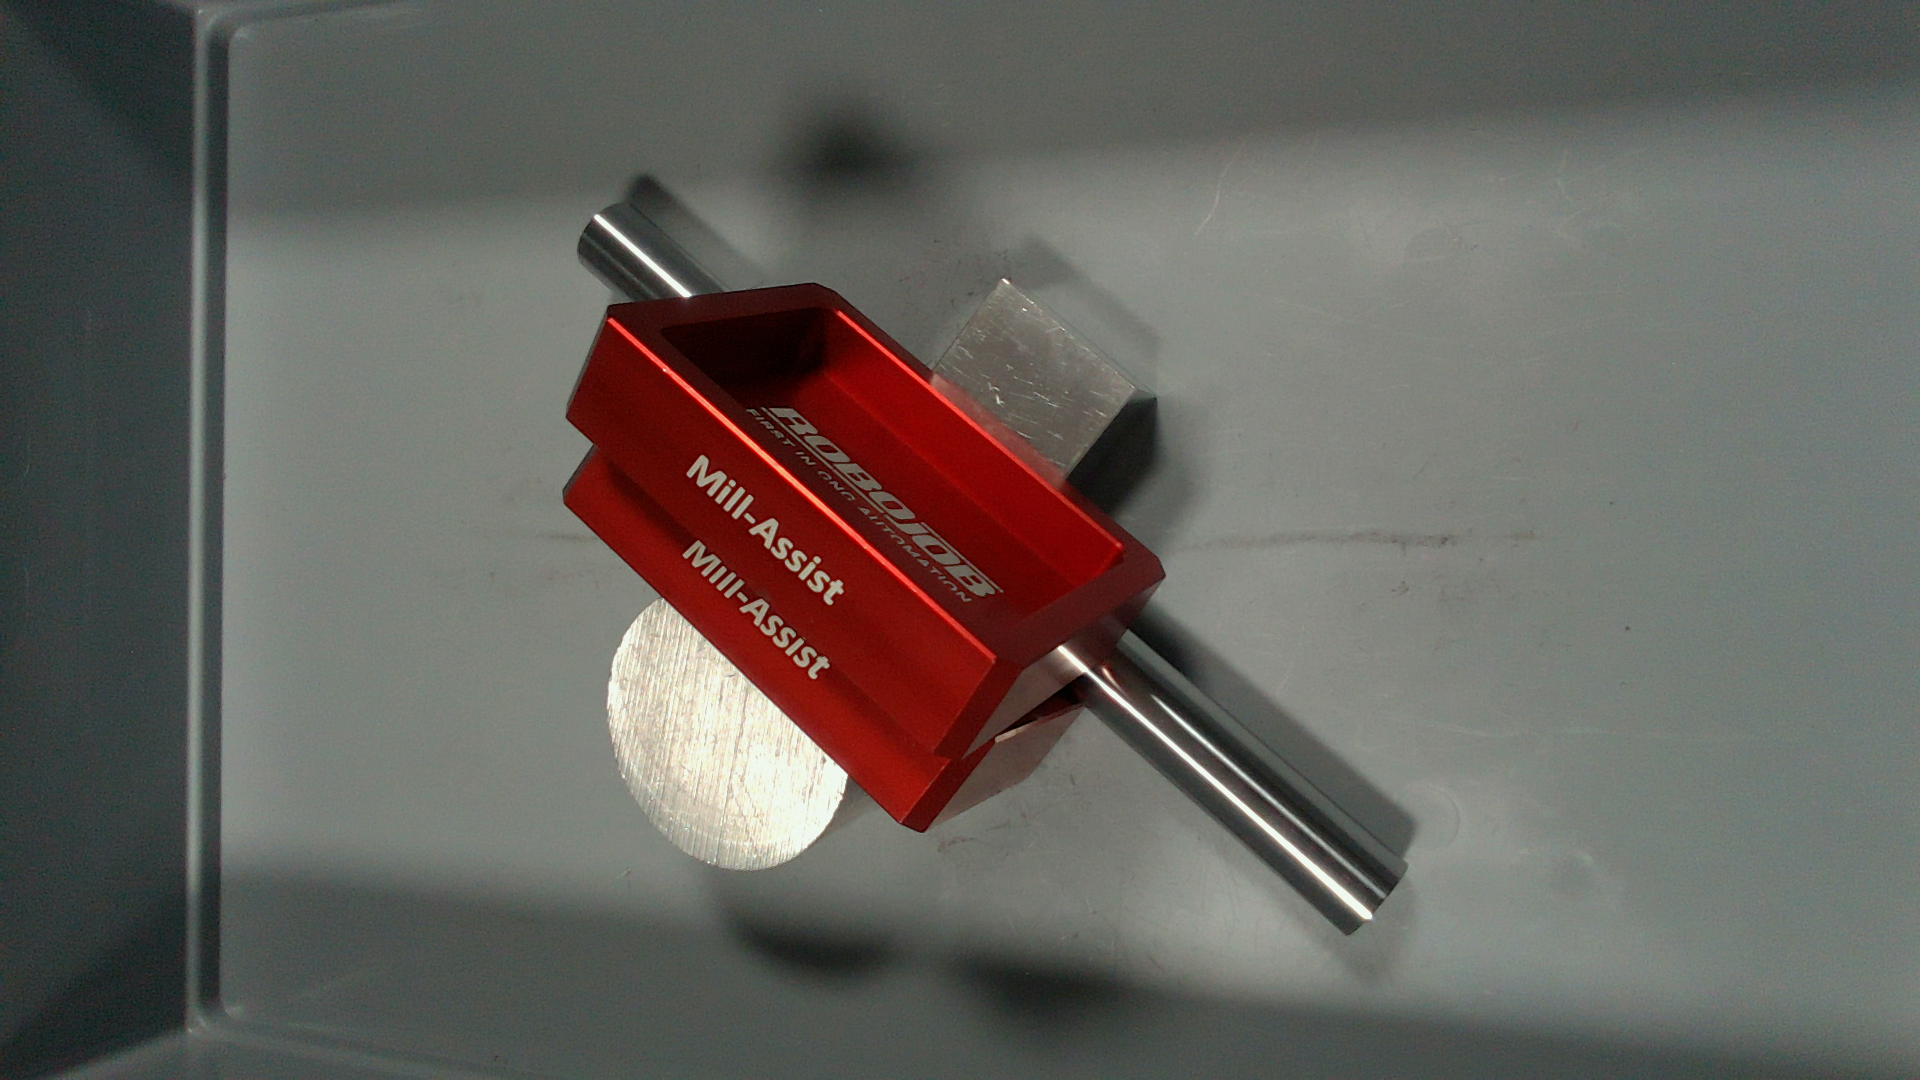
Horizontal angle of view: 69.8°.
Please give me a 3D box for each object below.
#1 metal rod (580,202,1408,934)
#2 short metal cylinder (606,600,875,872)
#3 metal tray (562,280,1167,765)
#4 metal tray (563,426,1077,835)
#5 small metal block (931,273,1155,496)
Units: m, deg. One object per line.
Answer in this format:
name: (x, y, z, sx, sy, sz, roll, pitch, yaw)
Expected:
metal rod: (-0.001, -0.002, 0.396, 0.300, 0.025, 0.025, 41, 103, 15)
short metal cylinder: (-0.053, 0.048, 0.395, 0.080, 0.050, 0.080, 4, 99, 25)
metal tray: (-0.021, -0.012, 0.341, 0.130, 0.090, 0.030, 41, 120, 15)
metal tray: (-0.033, 0.017, 0.372, 0.130, 0.090, 0.030, 41, 103, 15)
small metal block: (0.019, -0.038, 0.388, 0.050, 0.025, 0.050, 42, 103, 15)
